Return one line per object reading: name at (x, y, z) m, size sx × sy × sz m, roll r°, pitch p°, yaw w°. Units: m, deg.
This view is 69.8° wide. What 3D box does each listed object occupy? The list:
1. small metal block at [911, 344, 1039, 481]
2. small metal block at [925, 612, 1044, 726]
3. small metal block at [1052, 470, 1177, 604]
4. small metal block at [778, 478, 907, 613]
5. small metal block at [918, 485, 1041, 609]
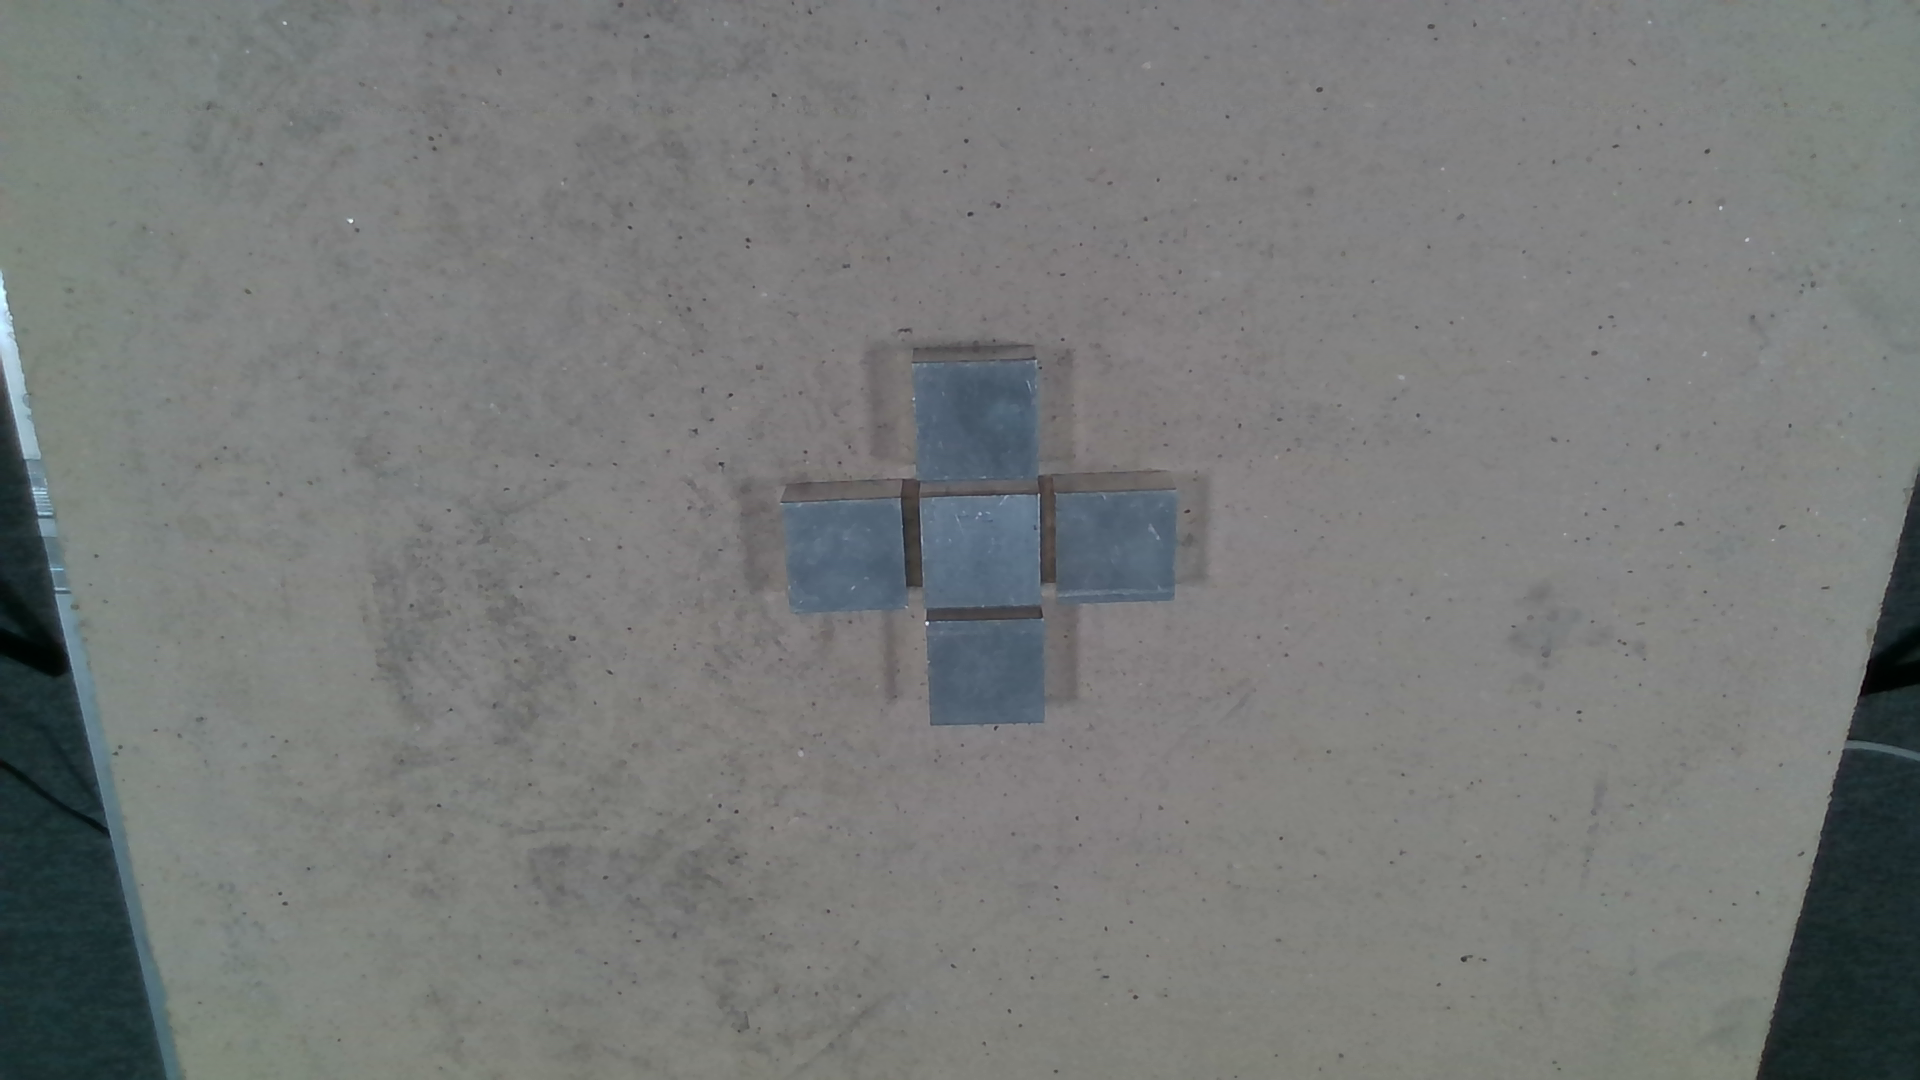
small metal block at (0.006, -0.053, 0.565) m, size 0.050 × 0.025 × 0.050 m, roll -2°, pitch 110°, yaw 1°
small metal block at (0.011, 0.053, 0.604) m, size 0.050 × 0.025 × 0.050 m, roll -2°, pitch 110°, yaw 1°
small metal block at (0.065, -0.001, 0.584) m, size 0.050 × 0.025 × 0.050 m, roll -2°, pitch 110°, yaw 1°
small metal block at (-0.049, 0.002, 0.586) m, size 0.050 × 0.025 × 0.050 m, roll -2°, pitch 110°, yaw 1°
small metal block at (0.009, 0.001, 0.585) m, size 0.050 × 0.025 × 0.050 m, roll -2°, pitch 110°, yaw 1°
